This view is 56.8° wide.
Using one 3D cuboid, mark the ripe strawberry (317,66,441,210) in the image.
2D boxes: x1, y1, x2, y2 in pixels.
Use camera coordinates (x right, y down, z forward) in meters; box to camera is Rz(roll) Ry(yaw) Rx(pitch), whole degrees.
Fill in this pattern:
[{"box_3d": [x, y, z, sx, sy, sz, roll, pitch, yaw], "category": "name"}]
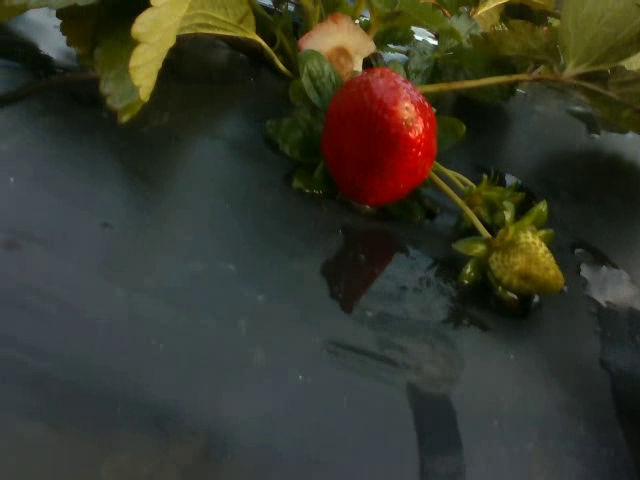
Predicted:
[{"box_3d": [0.024, -0.036, 0.195, 0.043, 0.052, 0.057, -9, 0, -4], "category": "ripe strawberry"}]
